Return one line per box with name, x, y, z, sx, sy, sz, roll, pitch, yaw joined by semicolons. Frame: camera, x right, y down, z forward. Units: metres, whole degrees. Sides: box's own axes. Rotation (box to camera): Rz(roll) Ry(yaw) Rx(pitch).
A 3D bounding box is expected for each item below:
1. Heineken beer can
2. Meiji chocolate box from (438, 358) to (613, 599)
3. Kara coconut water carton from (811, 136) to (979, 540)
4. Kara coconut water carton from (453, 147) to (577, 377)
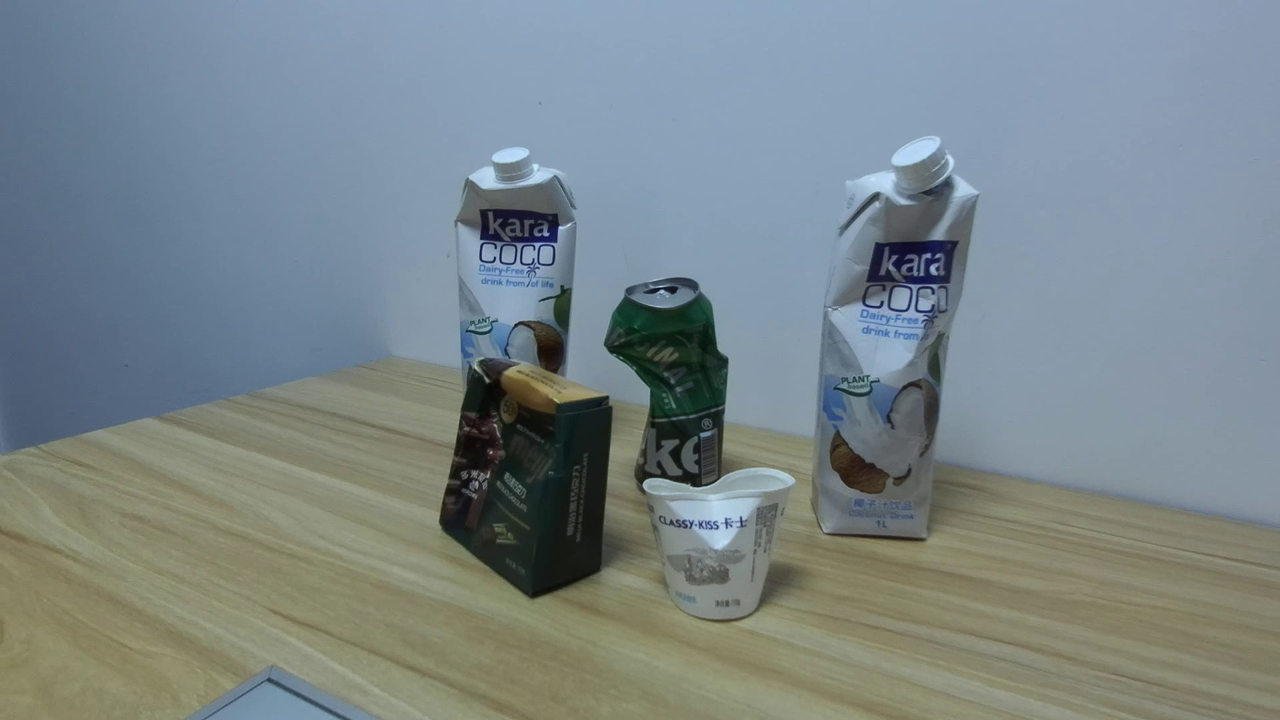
Heineken beer can;0.025;0.022;0.515;0.067;0.159;0.079;6;20;30
Meiji chocolate box;-0.069;0.064;0.431;0.058;0.110;0.112;-2;15;-42
Kara coconut water carton;0.160;-0.011;0.459;0.083;0.255;0.078;7;17;16
Kara coconut water carton;-0.097;-0.043;0.571;0.099;0.244;0.071;0;10;2
